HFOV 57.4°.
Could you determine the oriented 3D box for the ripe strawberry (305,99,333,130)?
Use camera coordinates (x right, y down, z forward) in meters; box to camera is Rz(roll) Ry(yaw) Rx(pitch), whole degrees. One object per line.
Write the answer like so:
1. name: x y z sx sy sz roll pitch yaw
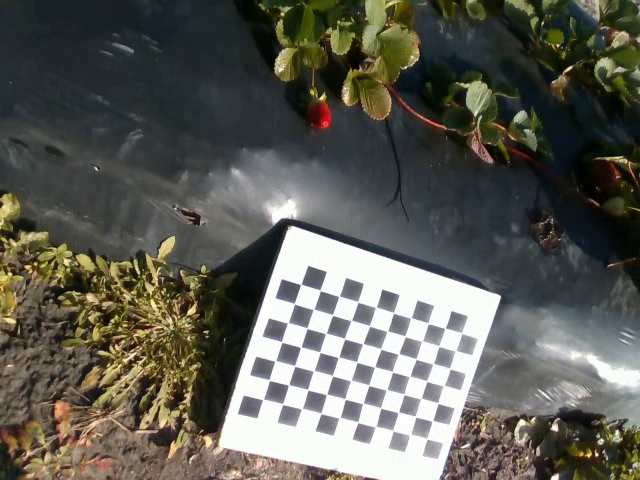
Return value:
1. ripe strawberry: -0.004 -0.125 0.554 0.028 0.031 0.041 -8 41 -11
